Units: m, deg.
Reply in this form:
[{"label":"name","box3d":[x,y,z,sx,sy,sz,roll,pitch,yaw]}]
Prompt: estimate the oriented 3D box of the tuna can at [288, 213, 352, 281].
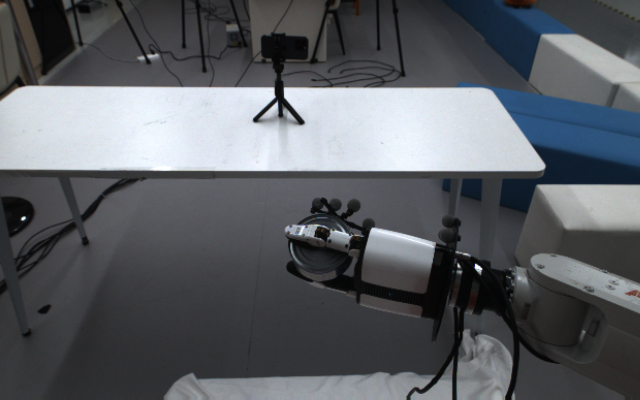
[{"label":"tuna can","box3d":[0.004,0.061,0.643,0.085,0.034,0.085,-4,56,6]}]
